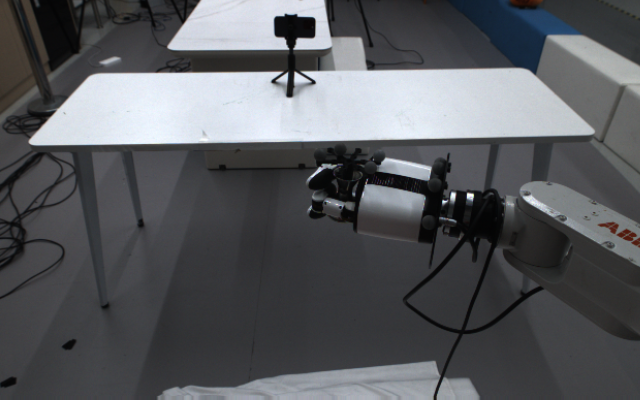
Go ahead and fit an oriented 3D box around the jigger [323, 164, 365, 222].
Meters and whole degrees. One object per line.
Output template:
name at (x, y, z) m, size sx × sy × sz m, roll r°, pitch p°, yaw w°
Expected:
jigger at (0.039, -0.009, 0.682) m, size 0.043 × 0.071 × 0.043 m, roll 4°, pitch 31°, yaw -2°
